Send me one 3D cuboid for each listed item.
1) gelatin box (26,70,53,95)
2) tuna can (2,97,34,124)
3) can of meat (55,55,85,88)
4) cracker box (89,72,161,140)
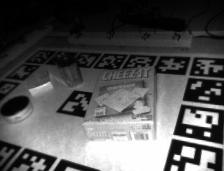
[{"bbox_3d":[-0.259,-0.013,0.767,0.074,0.030,0.088,-22,40,-17],"label":"gelatin box"},{"bbox_3d":[-0.282,0.074,0.651,0.085,0.034,0.085,-9,40,8],"label":"tuna can"},{"bbox_3d":[-0.143,-0.047,0.745,0.058,0.084,0.100,-32,40,-24],"label":"can of meat"},{"bbox_3d":[0.040,0.042,0.583,0.163,0.072,0.213,-4,36,9],"label":"cracker box"}]
